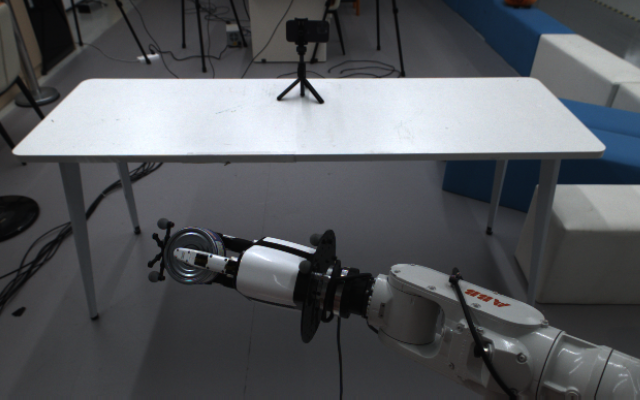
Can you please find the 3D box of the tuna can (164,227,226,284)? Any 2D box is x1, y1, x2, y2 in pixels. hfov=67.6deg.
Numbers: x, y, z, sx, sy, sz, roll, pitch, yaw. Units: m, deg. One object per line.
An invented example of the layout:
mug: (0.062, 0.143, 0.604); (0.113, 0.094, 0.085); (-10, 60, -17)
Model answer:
tuna can: (-0.182, 0.085, 0.709); (0.085, 0.085, 0.034); (10, -5, 11)
